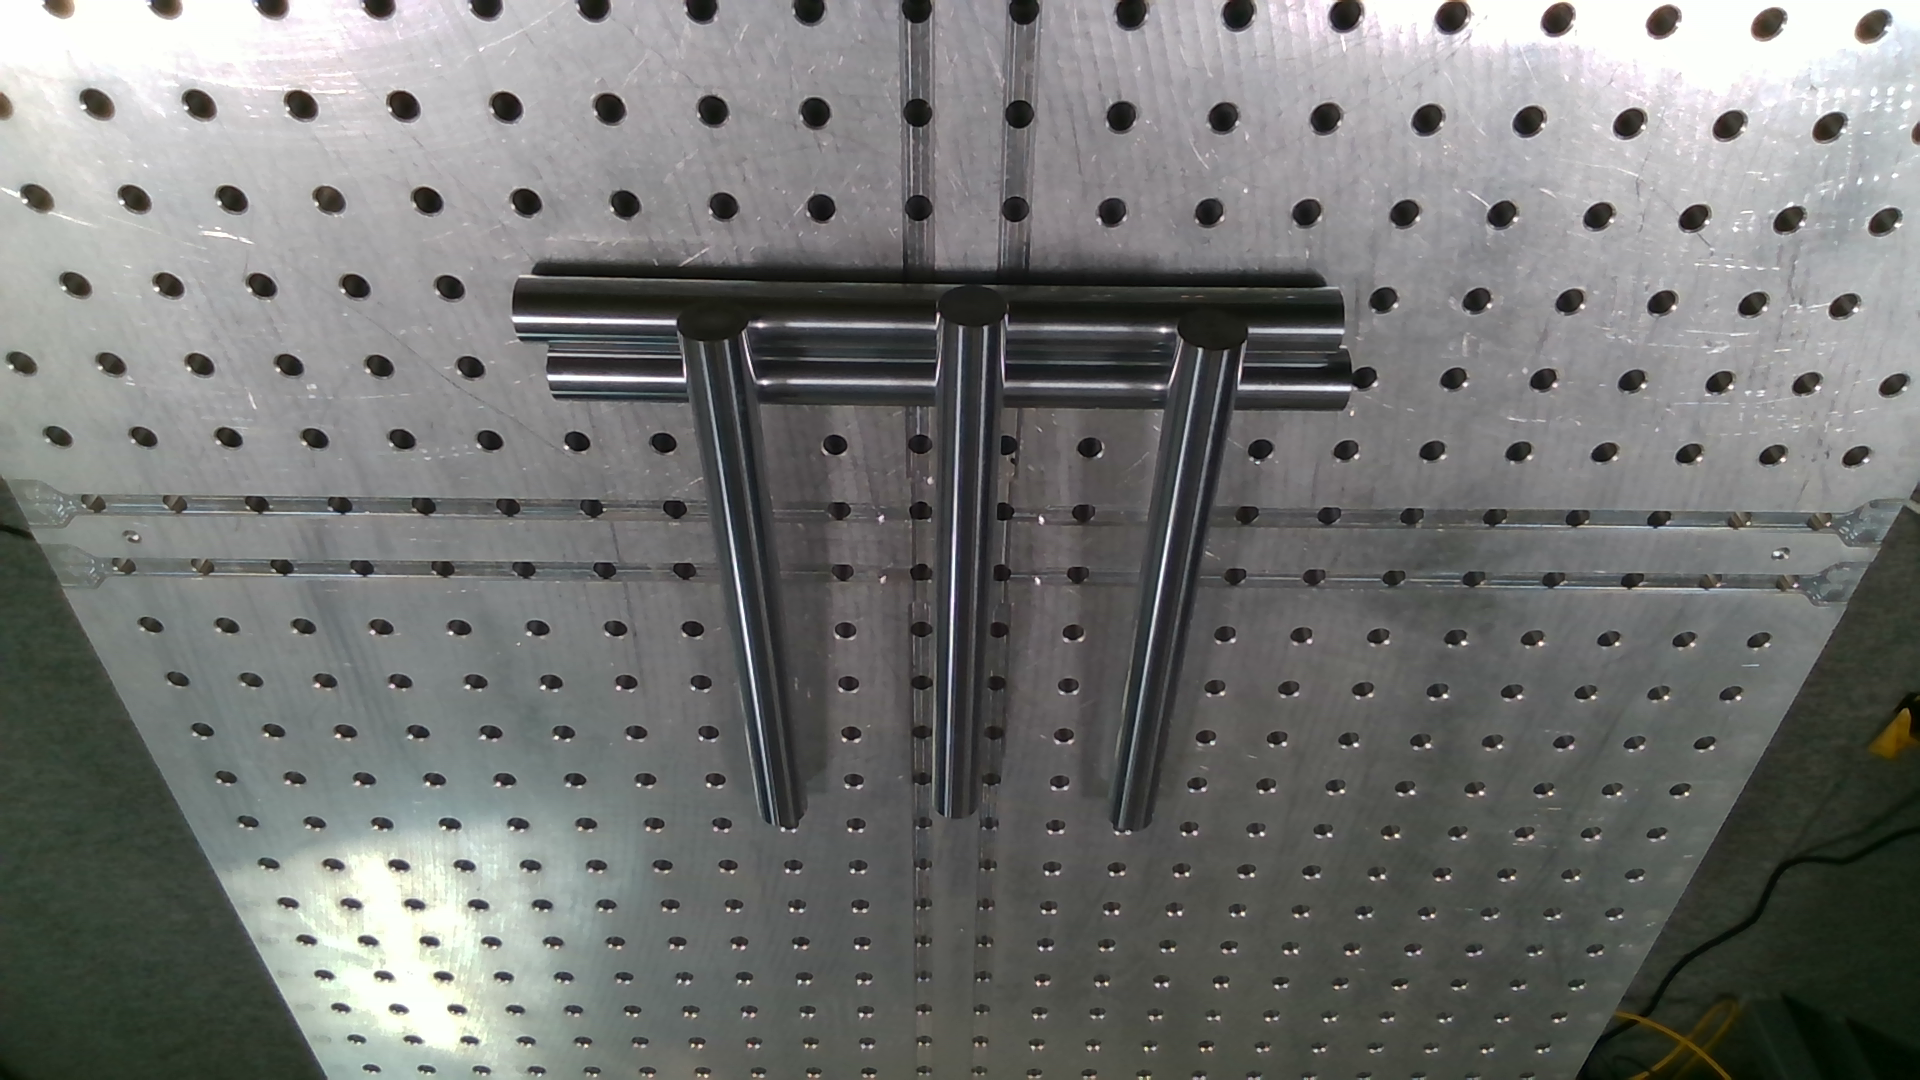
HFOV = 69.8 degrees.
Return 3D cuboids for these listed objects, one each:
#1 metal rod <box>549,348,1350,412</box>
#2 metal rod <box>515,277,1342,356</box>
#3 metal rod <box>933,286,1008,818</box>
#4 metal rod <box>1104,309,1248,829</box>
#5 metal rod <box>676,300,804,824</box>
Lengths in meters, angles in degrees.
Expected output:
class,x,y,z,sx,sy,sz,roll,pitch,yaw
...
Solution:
class,x,y,z,sx,sy,sz,roll,pitch,yaw
metal rod,-0.004,-0.064,0.528,0.300,0.025,0.025,1,130,-1
metal rod,-0.011,-0.083,0.512,0.300,0.025,0.025,1,130,-1
metal rod,0.001,0.024,0.583,0.025,0.025,0.301,1,136,-1
metal rod,0.087,0.031,0.590,0.025,0.025,0.301,0,136,0
metal rod,-0.088,0.029,0.587,0.025,0.025,0.301,0,136,0
